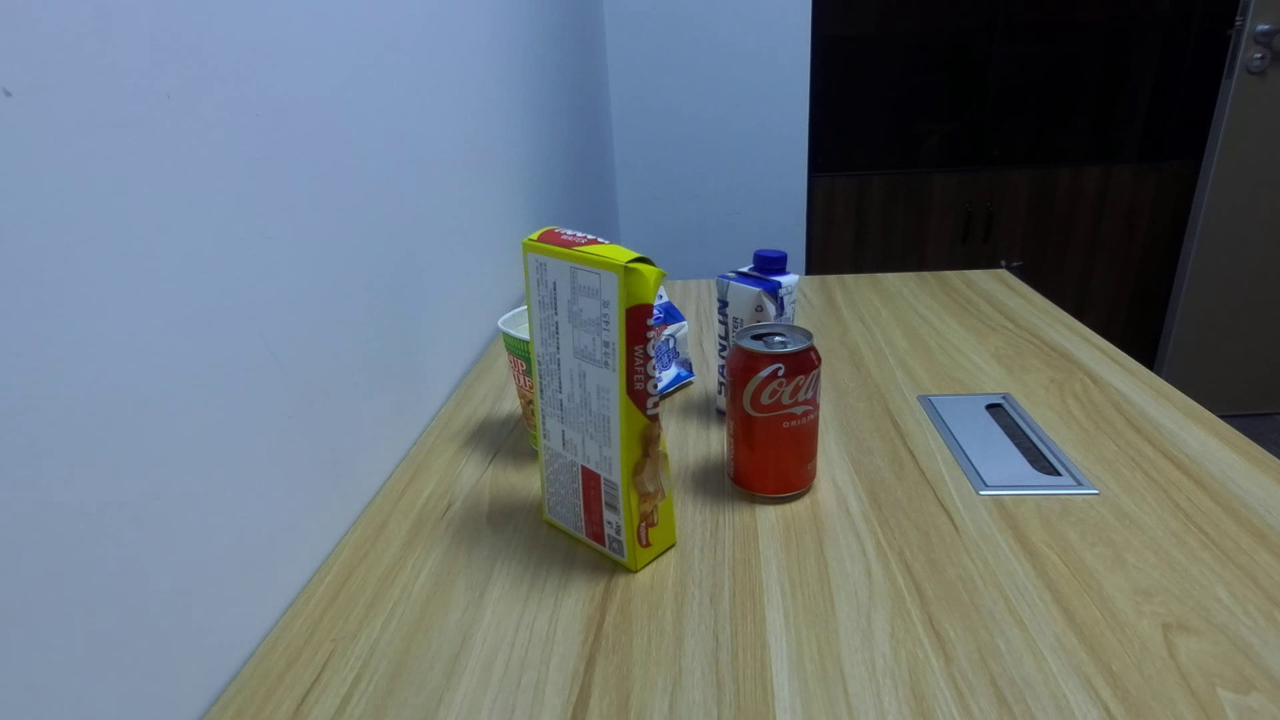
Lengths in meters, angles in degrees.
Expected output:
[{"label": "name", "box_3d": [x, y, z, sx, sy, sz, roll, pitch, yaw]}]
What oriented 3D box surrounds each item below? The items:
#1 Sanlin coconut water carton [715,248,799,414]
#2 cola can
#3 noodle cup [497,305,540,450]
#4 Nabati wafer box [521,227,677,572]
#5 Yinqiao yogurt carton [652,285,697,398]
[{"label": "Sanlin coconut water carton", "box_3d": [0.099, -0.020, 0.607, 0.061, 0.144, 0.060, -20, 28, -37]}, {"label": "cola can", "box_3d": [0.096, 0.035, 0.509, 0.068, 0.120, 0.068, -2, 22, 1]}, {"label": "noodle cup", "box_3d": [-0.065, 0.015, 0.584, 0.075, 0.122, 0.083, -4, 32, 17]}, {"label": "Nabati wafer box", "box_3d": [-0.022, 0.025, 0.444, 0.106, 0.204, 0.042, 18, 30, 42]}, {"label": "Yinqiao yogurt carton", "box_3d": [0.005, -0.017, 0.684, 0.078, 0.094, 0.070, -22, 22, -39]}]
